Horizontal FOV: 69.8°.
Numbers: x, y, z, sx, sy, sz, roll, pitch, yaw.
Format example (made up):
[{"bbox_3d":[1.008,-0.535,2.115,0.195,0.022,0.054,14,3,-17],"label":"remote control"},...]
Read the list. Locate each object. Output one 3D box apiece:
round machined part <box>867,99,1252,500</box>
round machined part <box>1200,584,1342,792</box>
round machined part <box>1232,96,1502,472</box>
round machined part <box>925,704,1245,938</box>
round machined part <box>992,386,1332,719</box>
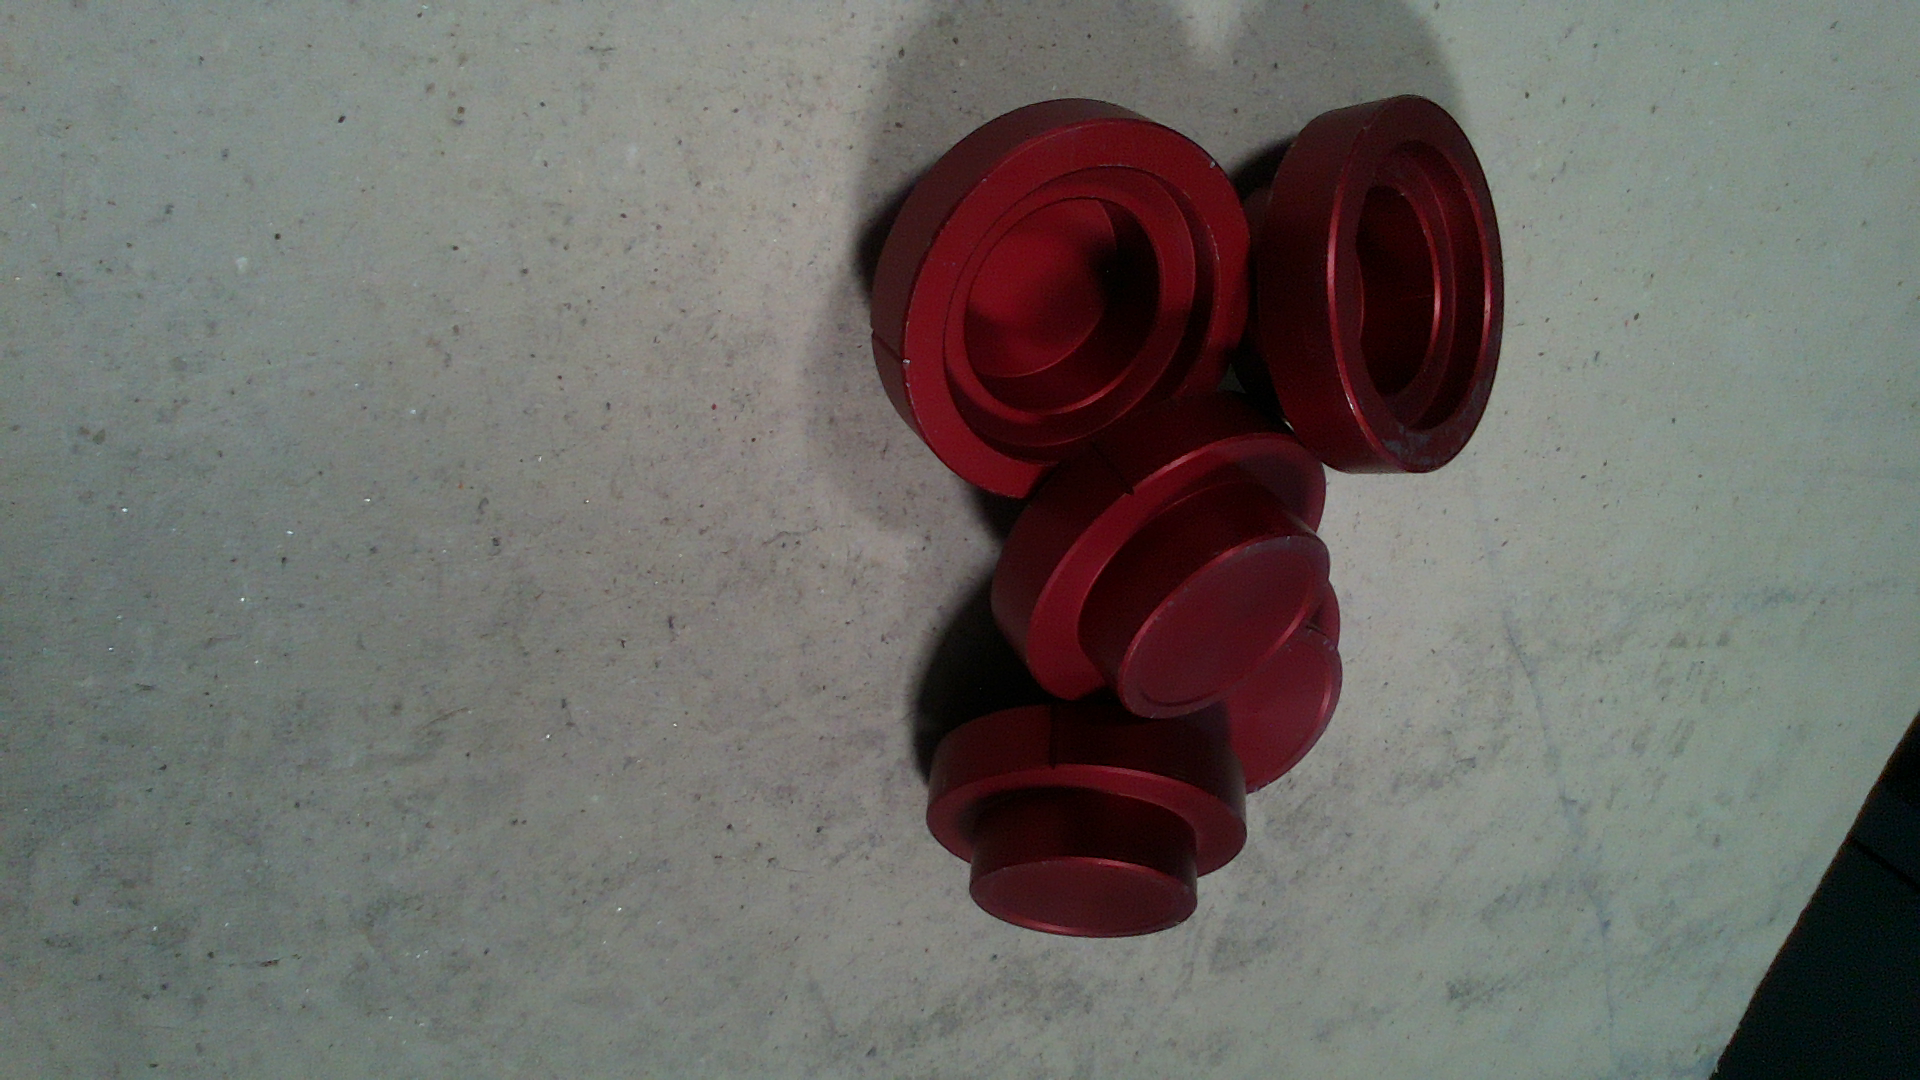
[{"bbox_3d":[0.022,-0.063,0.351,0.098,0.042,0.098,-14,124,-21],"label":"round machined part"},{"bbox_3d":[0.085,0.046,0.452,0.098,0.042,0.098,-14,124,-21],"label":"round machined part"},{"bbox_3d":[0.108,-0.067,0.377,0.098,0.042,0.098,-3,94,-45],"label":"round machined part"},{"bbox_3d":[0.038,0.091,0.422,0.098,0.042,0.098,4,147,3],"label":"round machined part"},{"bbox_3d":[0.061,0.010,0.375,0.098,0.042,0.098,-22,139,-20],"label":"round machined part"}]
